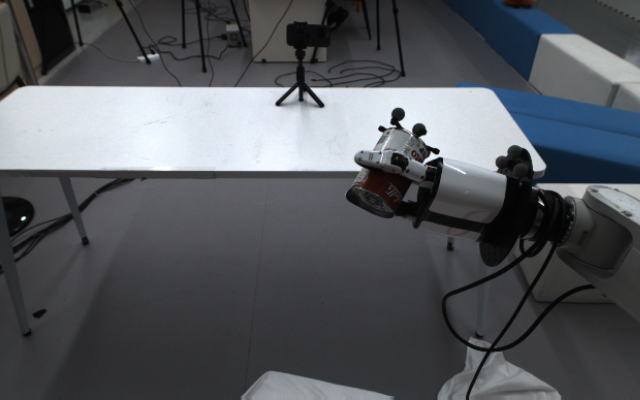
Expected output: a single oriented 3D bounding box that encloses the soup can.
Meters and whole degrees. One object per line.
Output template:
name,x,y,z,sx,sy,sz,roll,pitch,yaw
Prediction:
soup can,0.092,-0.036,0.635,0.067,0.067,0.101,22,71,27
